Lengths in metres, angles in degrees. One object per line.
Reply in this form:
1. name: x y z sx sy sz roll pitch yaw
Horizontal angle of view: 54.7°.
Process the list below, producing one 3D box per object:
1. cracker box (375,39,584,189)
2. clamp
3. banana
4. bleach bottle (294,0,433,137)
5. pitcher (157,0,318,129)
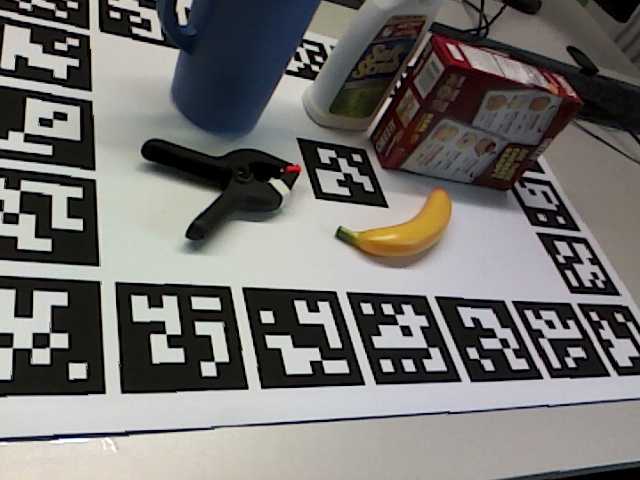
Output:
1. cracker box: 0.204 -0.159 0.811 0.212 0.164 0.072 5 45 -26
2. clamp: -0.091 -0.056 0.650 0.164 0.036 0.122 -10 54 -40
3. banana: 0.105 -0.018 0.743 0.074 0.039 0.196 43 42 13
4. bleach bottle: 0.060 -0.244 0.766 0.102 0.251 0.068 4 47 -28
5. pitcher: -0.085 -0.237 0.642 0.187 0.243 0.134 -12 57 -42
